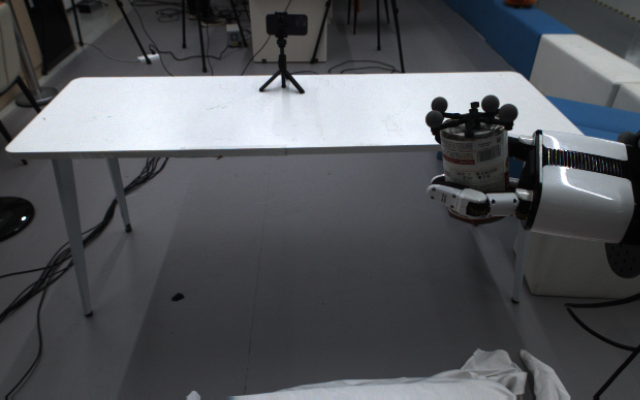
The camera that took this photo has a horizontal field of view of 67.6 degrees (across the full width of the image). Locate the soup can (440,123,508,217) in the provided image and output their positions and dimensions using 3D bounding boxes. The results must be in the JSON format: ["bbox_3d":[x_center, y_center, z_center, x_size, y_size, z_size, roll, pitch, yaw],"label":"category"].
[{"bbox_3d":[0.169,-0.034,0.516,0.067,0.101,0.067,-11,28,6],"label":"soup can"}]
